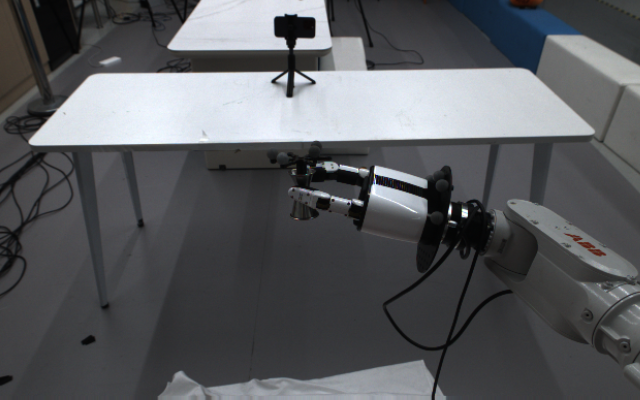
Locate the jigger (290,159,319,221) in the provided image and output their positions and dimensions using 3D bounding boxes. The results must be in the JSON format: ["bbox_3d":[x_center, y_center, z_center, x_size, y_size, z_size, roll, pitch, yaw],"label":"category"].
[{"bbox_3d":[-0.025,-0.010,0.705,0.043,0.071,0.043,-2,19,1],"label":"jigger"}]
